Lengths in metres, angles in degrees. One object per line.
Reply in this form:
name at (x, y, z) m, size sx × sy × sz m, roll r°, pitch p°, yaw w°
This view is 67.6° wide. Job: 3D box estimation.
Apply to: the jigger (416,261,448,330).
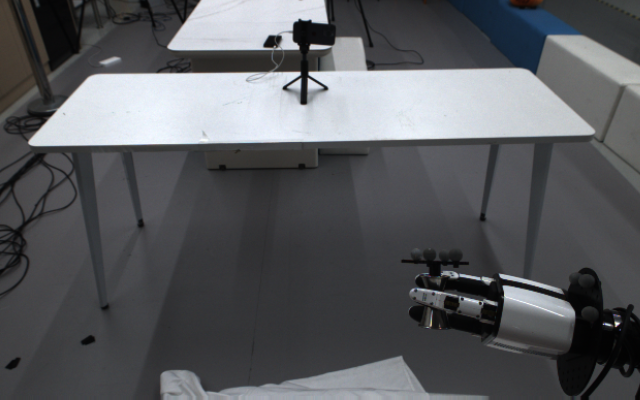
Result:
jigger at (0.152, 0.133, 0.647) m, size 0.043 × 0.071 × 0.043 m, roll 1°, pitch -6°, yaw 0°
